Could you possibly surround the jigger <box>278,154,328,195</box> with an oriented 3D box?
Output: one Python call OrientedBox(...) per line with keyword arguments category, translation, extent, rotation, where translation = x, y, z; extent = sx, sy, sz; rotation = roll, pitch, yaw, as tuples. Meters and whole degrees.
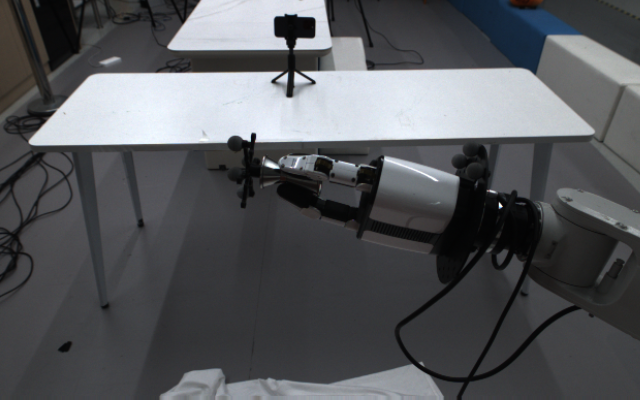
OrientedBox(category="jigger", translation=(-0.024, -0.033, 0.559), extent=(0.071, 0.043, 0.043), rotation=(5, 35, 3))
